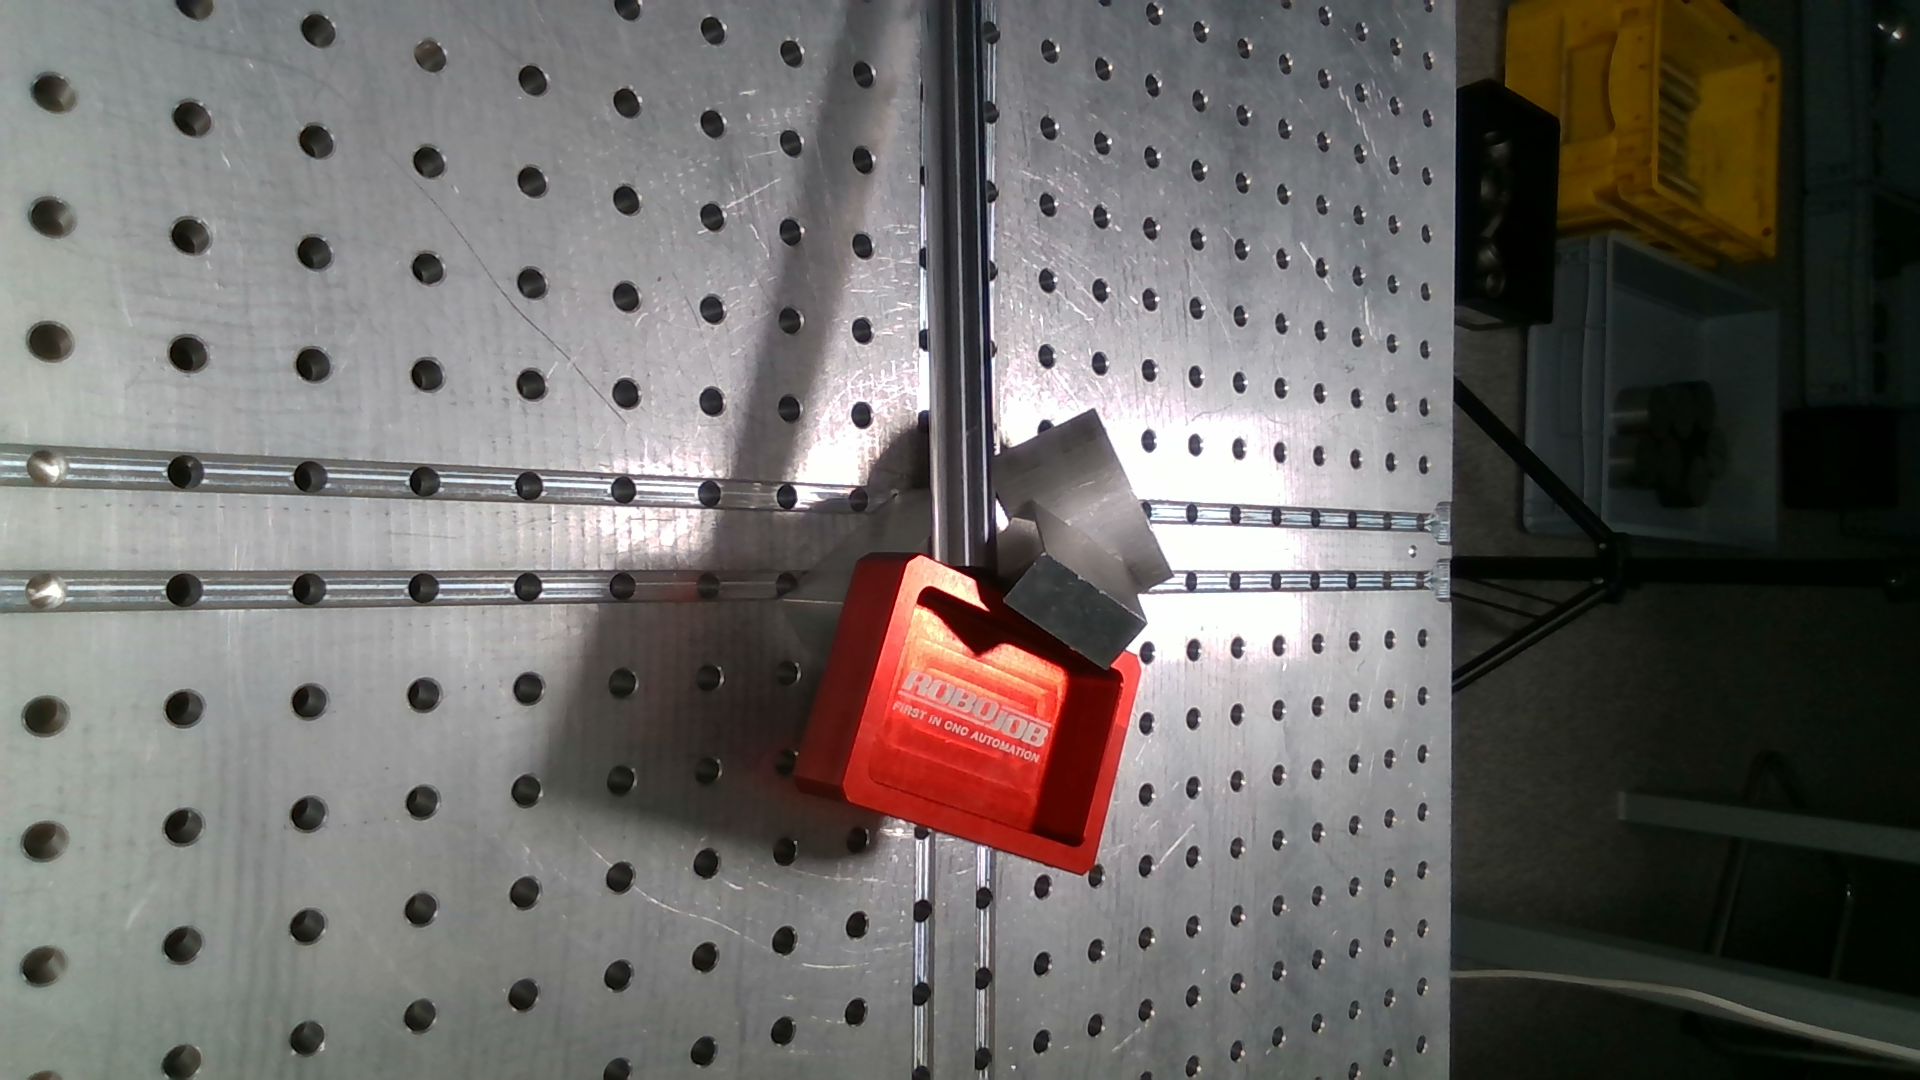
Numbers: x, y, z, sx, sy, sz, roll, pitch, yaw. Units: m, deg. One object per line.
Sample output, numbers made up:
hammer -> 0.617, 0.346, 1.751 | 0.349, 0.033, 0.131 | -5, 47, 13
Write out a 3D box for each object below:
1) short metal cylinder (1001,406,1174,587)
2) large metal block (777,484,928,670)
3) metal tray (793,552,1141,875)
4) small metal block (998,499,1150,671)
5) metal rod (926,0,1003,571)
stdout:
short metal cylinder -> 0.052, -0.010, 0.586 | 0.050, 0.080, 0.080 | -25, 112, 7
large metal block -> -0.013, 0.032, 0.557 | 0.080, 0.050, 0.080 | -43, 116, -32
metal tray -> 0.007, 0.067, 0.520 | 0.130, 0.030, 0.090 | 26, 73, -37
small metal block -> 0.041, 0.016, 0.526 | 0.050, 0.050, 0.025 | 34, 108, -17
metal rod -> 0.000, -0.134, 0.548 | 0.025, 0.025, 0.299 | 10, 72, -40
